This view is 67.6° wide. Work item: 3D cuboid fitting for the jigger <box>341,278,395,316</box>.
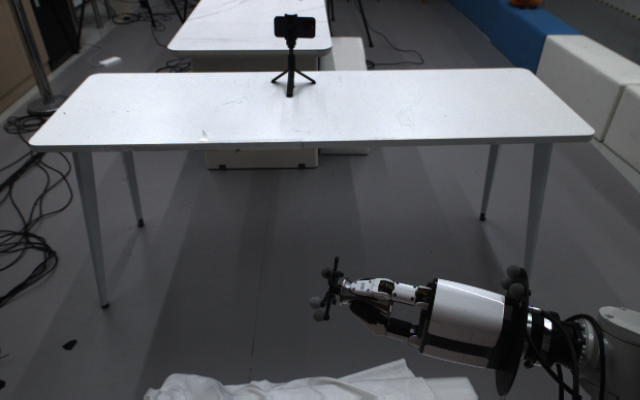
[{"bbox_3d":[0.071,0.126,0.654,0.071,0.043,0.043,9,35,16],"label":"jigger"}]
